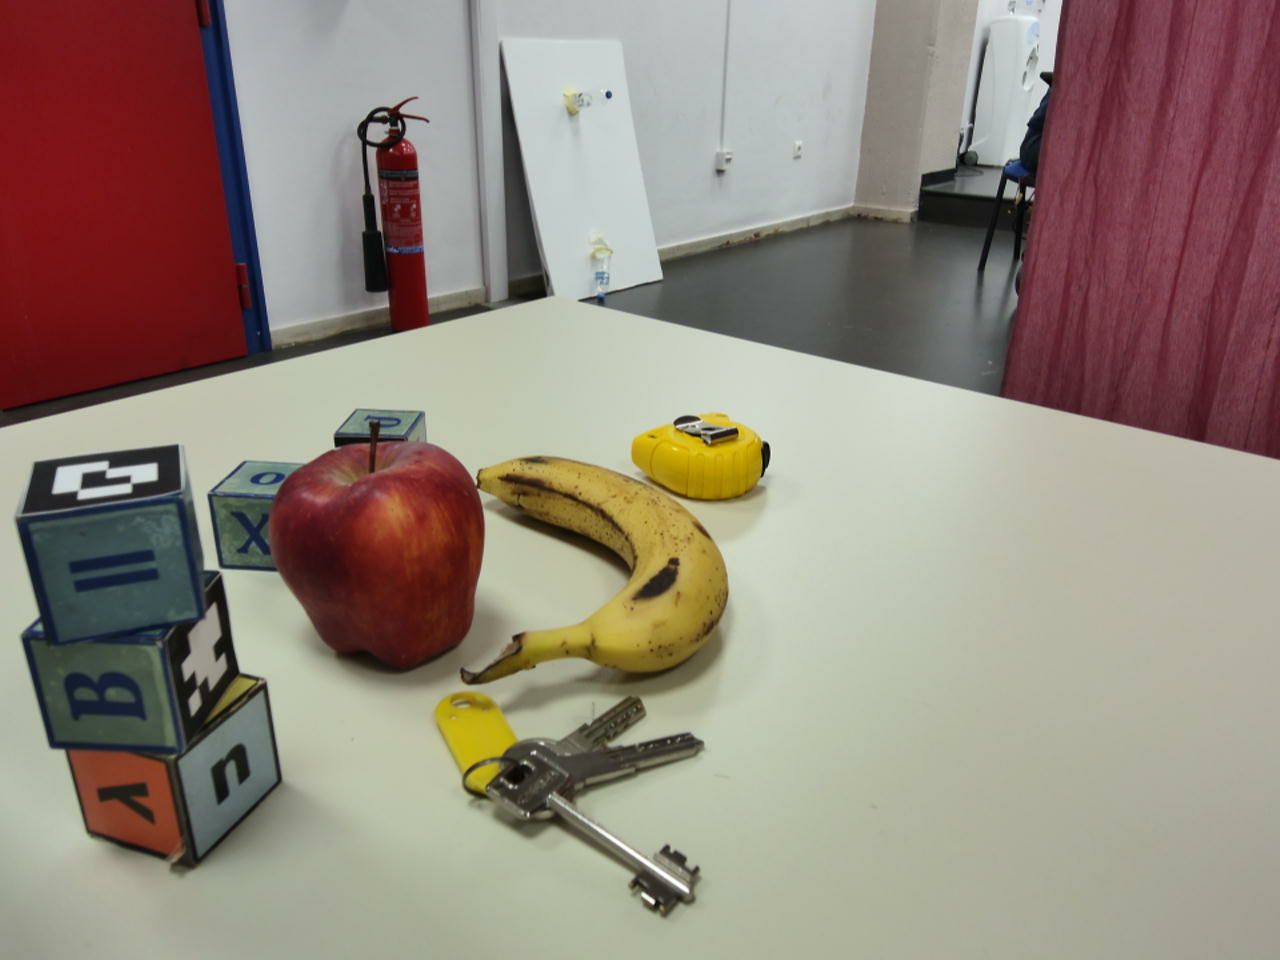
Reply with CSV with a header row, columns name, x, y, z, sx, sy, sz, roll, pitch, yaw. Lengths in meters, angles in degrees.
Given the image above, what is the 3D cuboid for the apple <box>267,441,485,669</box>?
name,x,y,z,sx,sy,sz,roll,pitch,yaw
apple,-0.099,0.022,0.383,0.083,0.090,0.083,2,22,-1
